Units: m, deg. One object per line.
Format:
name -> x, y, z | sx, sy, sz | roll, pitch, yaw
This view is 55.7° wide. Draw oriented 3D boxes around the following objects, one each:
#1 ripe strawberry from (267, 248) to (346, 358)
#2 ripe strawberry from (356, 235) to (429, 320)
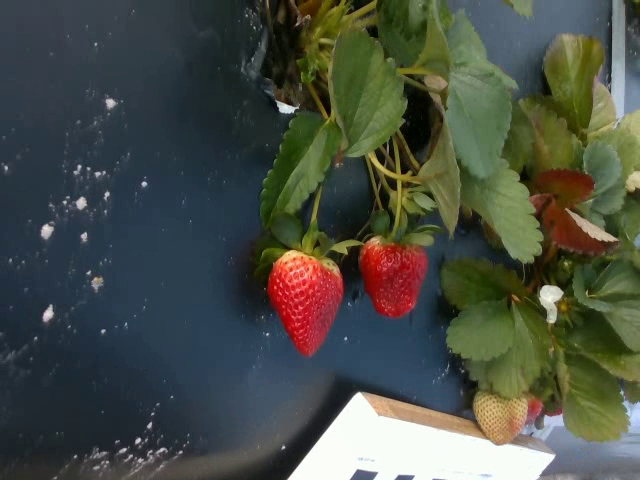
ripe strawberry -> -0.006, 0.035, 0.319 | 0.050, 0.061, 0.045 | 15, -16, -37
ripe strawberry -> 0.047, 0.023, 0.357 | 0.042, 0.053, 0.034 | 9, -8, -34
